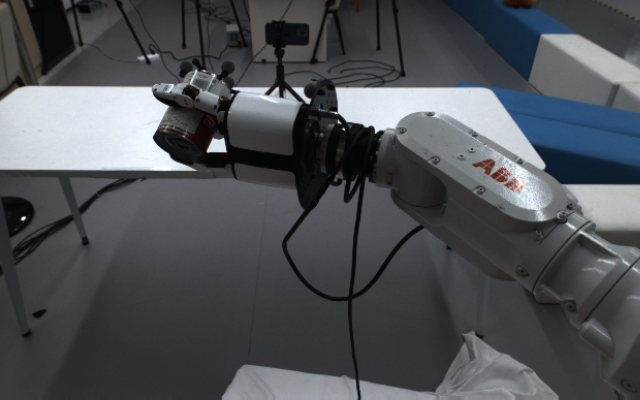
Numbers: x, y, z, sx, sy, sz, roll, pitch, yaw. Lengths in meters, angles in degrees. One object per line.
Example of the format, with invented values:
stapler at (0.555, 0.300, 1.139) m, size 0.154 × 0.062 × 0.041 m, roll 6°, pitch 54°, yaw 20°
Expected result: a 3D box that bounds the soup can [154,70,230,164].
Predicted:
soup can at (-0.164, -0.109, 0.631) m, size 0.067 × 0.067 × 0.101 m, roll 12°, pitch 66°, yaw 15°
